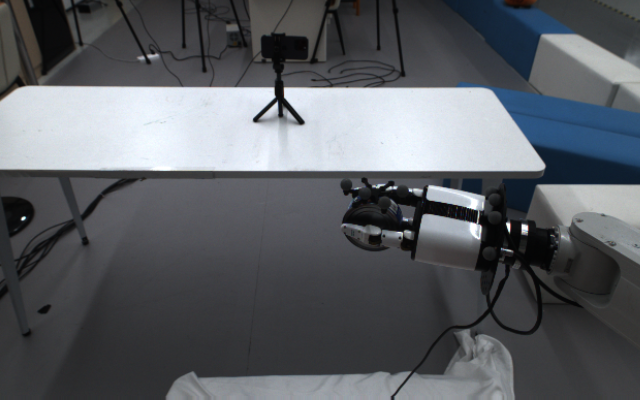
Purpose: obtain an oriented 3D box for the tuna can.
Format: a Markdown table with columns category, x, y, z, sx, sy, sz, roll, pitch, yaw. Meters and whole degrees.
| category | x | y | z | sx | sy | sz | roll | pitch | yaw |
| --- | --- | --- | --- | --- | --- | --- | --- | --- | --- |
| tuna can | 0.079 | 0.031 | 0.712 | 0.085 | 0.085 | 0.034 | 10 | 34 | 12 |
